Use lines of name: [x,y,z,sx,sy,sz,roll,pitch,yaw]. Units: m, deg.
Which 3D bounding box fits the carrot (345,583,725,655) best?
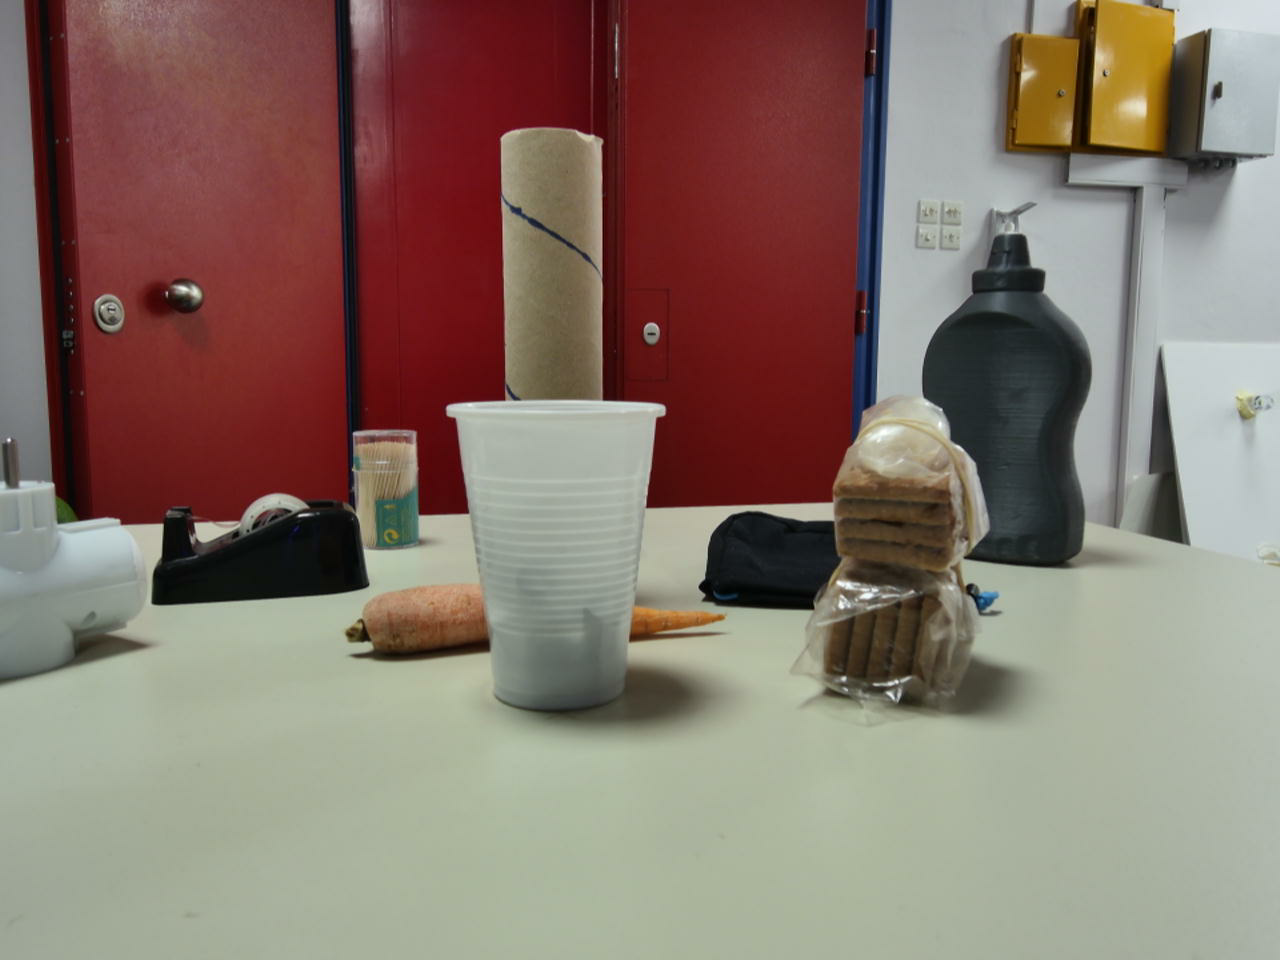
carrot: [-0.044,0.058,0.438,0.163,0.029,0.031,-1,5,-13]
